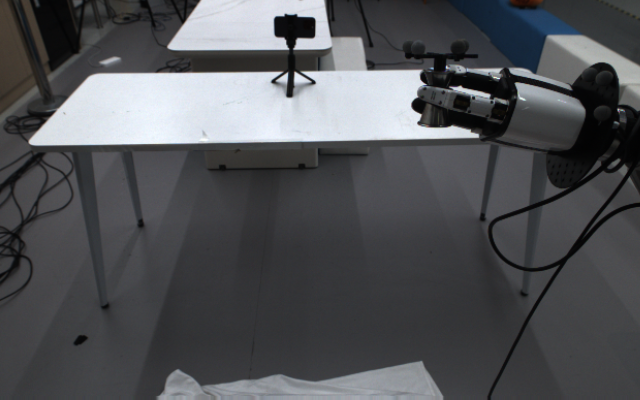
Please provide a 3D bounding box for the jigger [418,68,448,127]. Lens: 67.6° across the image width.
[{"bbox_3d":[0.147,-0.129,0.616,0.043,0.071,0.043,0,21,0],"label":"jigger"}]
